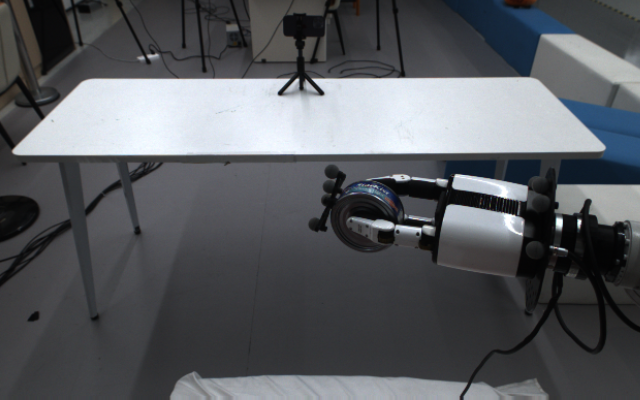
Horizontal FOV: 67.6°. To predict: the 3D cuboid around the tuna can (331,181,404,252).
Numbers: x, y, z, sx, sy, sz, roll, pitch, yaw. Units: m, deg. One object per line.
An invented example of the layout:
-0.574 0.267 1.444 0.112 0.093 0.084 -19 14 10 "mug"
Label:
0.060 0.019 0.588 0.085 0.085 0.034 12 29 14 "tuna can"
